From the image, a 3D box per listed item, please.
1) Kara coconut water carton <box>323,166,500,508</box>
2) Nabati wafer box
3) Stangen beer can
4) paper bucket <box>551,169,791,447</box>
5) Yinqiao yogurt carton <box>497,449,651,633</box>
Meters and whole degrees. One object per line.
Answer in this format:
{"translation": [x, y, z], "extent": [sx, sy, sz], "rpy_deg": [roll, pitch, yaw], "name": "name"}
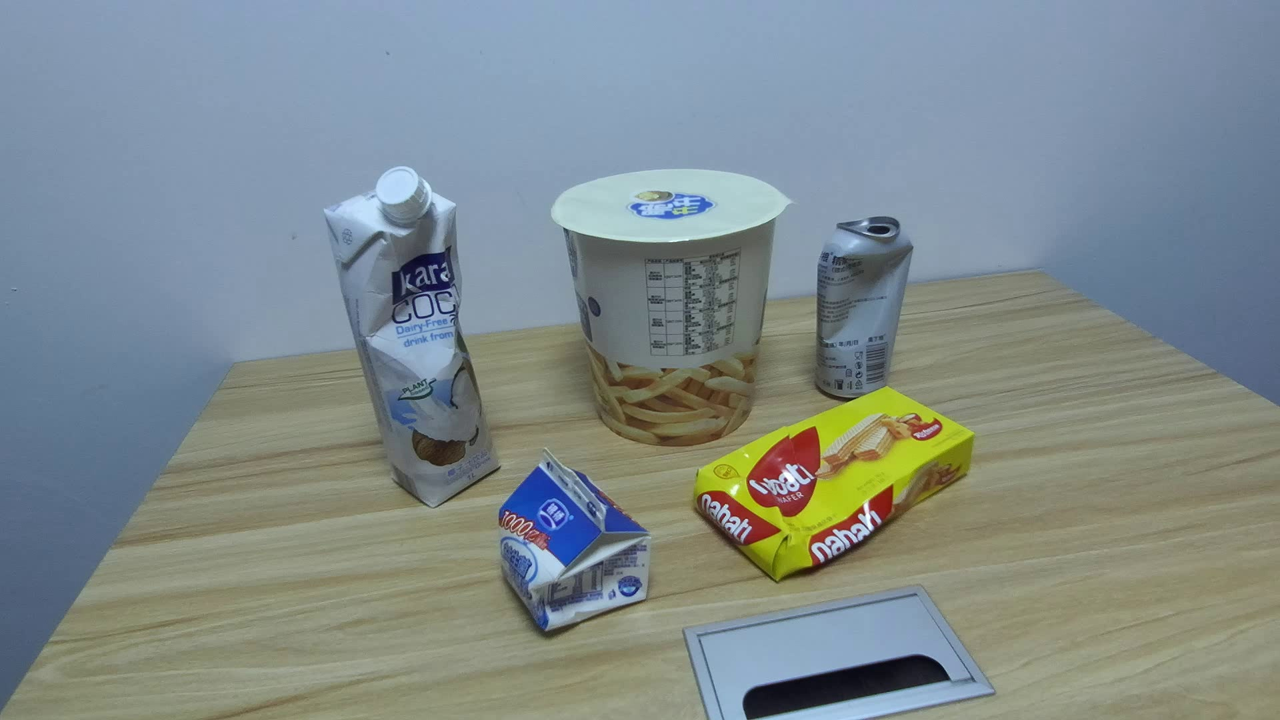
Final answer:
{"translation": [-0.166, -0.015, 0.523], "extent": [0.083, 0.256, 0.078], "rpy_deg": [-21, 35, -29], "name": "Kara coconut water carton"}
{"translation": [0.149, 0.088, 0.531], "extent": [0.205, 0.042, 0.106], "rpy_deg": [-19, 31, -25], "name": "Nabati wafer box"}
{"translation": [0.197, -0.045, 0.633], "extent": [0.065, 0.162, 0.077], "rpy_deg": [15, 34, 27], "name": "Stangen beer can"}
{"translation": [0.027, -0.046, 0.618], "extent": [0.198, 0.195, 0.198], "rpy_deg": [-2, 30, 2], "name": "paper bucket"}
{"translation": [-0.045, 0.112, 0.449], "extent": [0.080, 0.097, 0.074], "rpy_deg": [-15, 31, -33], "name": "Yinqiao yogurt carton"}
